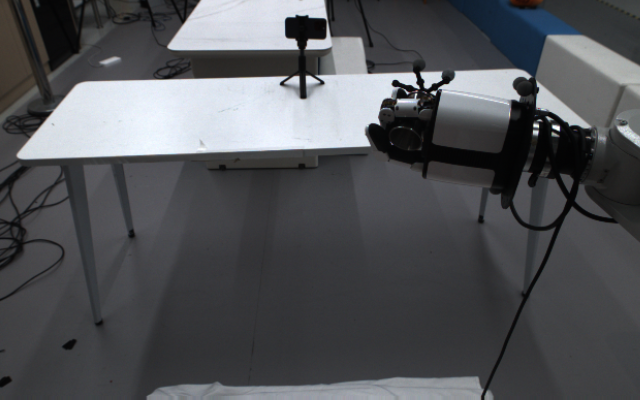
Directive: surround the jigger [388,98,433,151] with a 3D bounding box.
[{"bbox_3d":[0.120,-0.106,0.621,0.043,0.043,0.071,15,58,18],"label":"jigger"}]
